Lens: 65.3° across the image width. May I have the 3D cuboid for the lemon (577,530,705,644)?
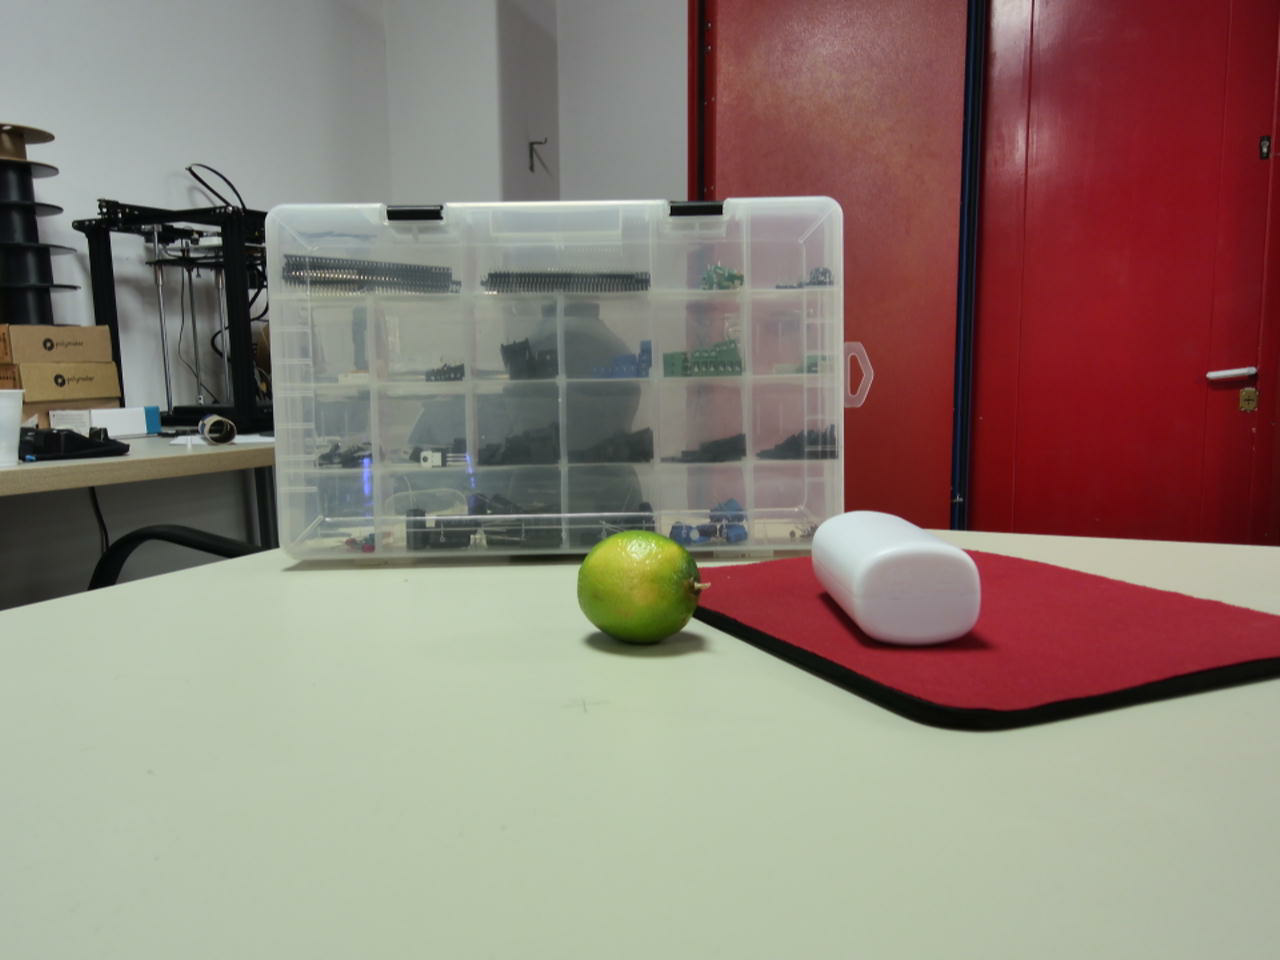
[{"bbox_3d":[-0.001,0.048,0.458,0.054,0.050,0.055,-2,4,-15],"label":"lemon"}]
